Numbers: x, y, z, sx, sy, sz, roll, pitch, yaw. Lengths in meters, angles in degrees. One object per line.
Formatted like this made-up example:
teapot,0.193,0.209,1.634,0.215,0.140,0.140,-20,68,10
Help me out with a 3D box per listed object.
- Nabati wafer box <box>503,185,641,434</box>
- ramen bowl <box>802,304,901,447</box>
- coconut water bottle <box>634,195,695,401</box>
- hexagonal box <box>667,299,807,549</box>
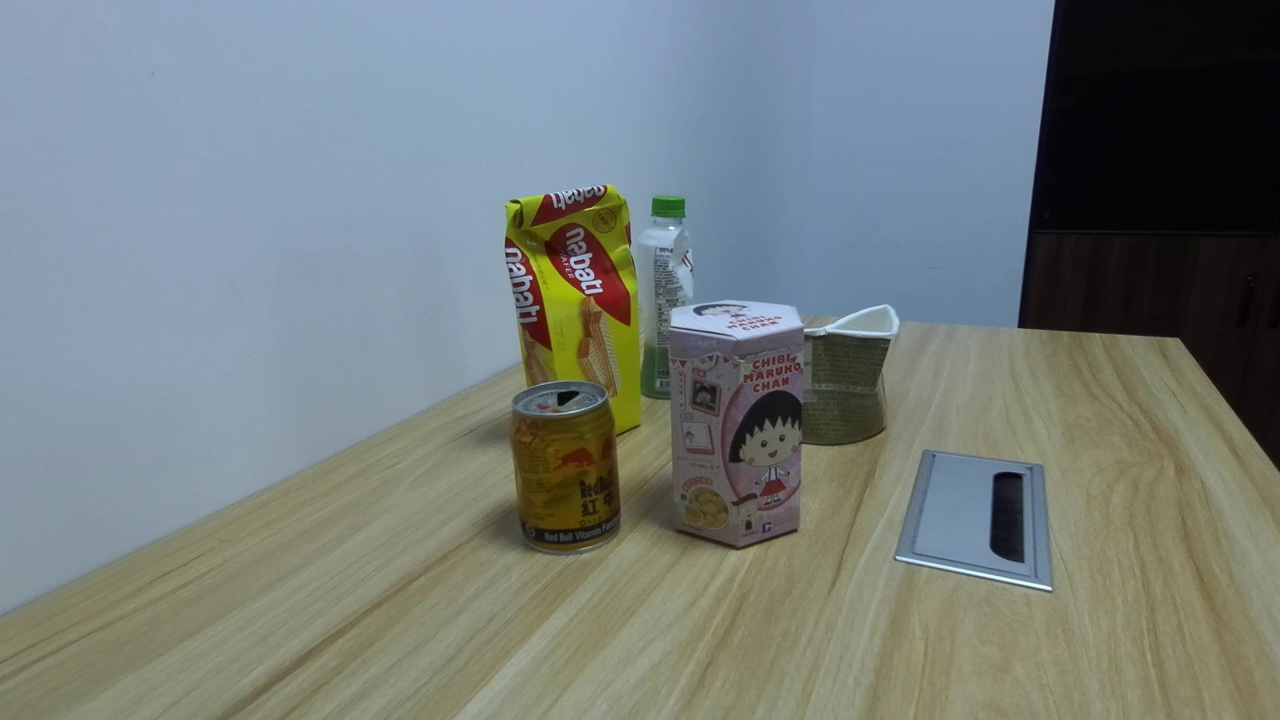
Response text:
Nabati wafer box,-0.049,-0.032,0.572,0.042,0.205,0.114,13,25,42
ramen bowl,0.147,0.007,0.600,0.128,0.093,0.111,3,18,12
coconut water bottle,0.027,-0.059,0.671,0.069,0.187,0.069,-1,10,0
hexagonal box,0.061,0.038,0.444,0.091,0.136,0.083,-11,19,-25
